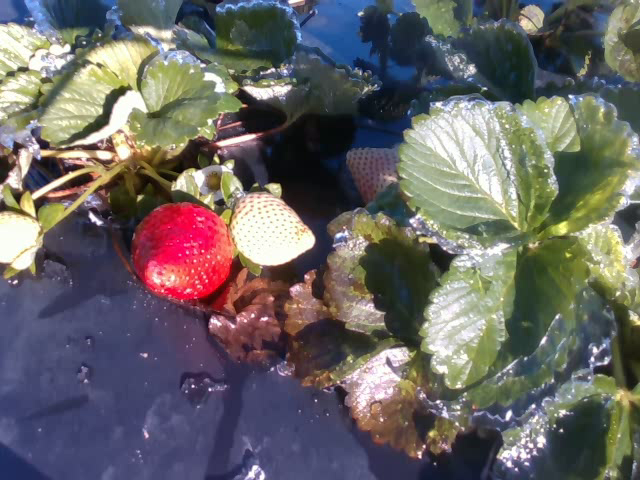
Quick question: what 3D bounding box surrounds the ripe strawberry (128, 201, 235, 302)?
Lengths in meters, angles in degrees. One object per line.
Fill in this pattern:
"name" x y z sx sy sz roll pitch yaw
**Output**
"ripe strawberry" -0.050 0.008 0.201 0.040 0.042 0.053 -17 14 7
